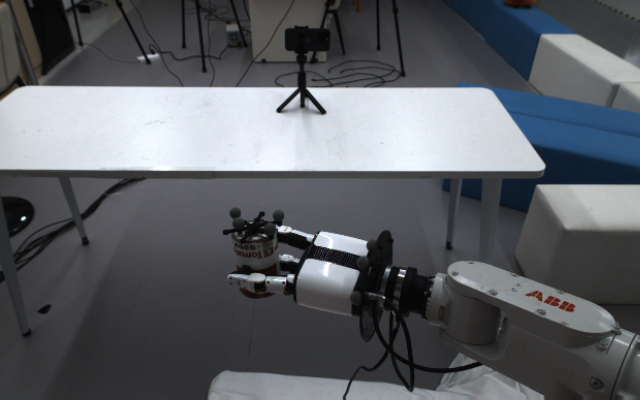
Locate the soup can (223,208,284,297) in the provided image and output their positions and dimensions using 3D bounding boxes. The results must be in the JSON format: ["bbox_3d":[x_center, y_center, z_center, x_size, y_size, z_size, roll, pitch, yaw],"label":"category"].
[{"bbox_3d":[-0.093,0.090,0.736,0.067,0.101,0.067,-3,27,2],"label":"soup can"}]
